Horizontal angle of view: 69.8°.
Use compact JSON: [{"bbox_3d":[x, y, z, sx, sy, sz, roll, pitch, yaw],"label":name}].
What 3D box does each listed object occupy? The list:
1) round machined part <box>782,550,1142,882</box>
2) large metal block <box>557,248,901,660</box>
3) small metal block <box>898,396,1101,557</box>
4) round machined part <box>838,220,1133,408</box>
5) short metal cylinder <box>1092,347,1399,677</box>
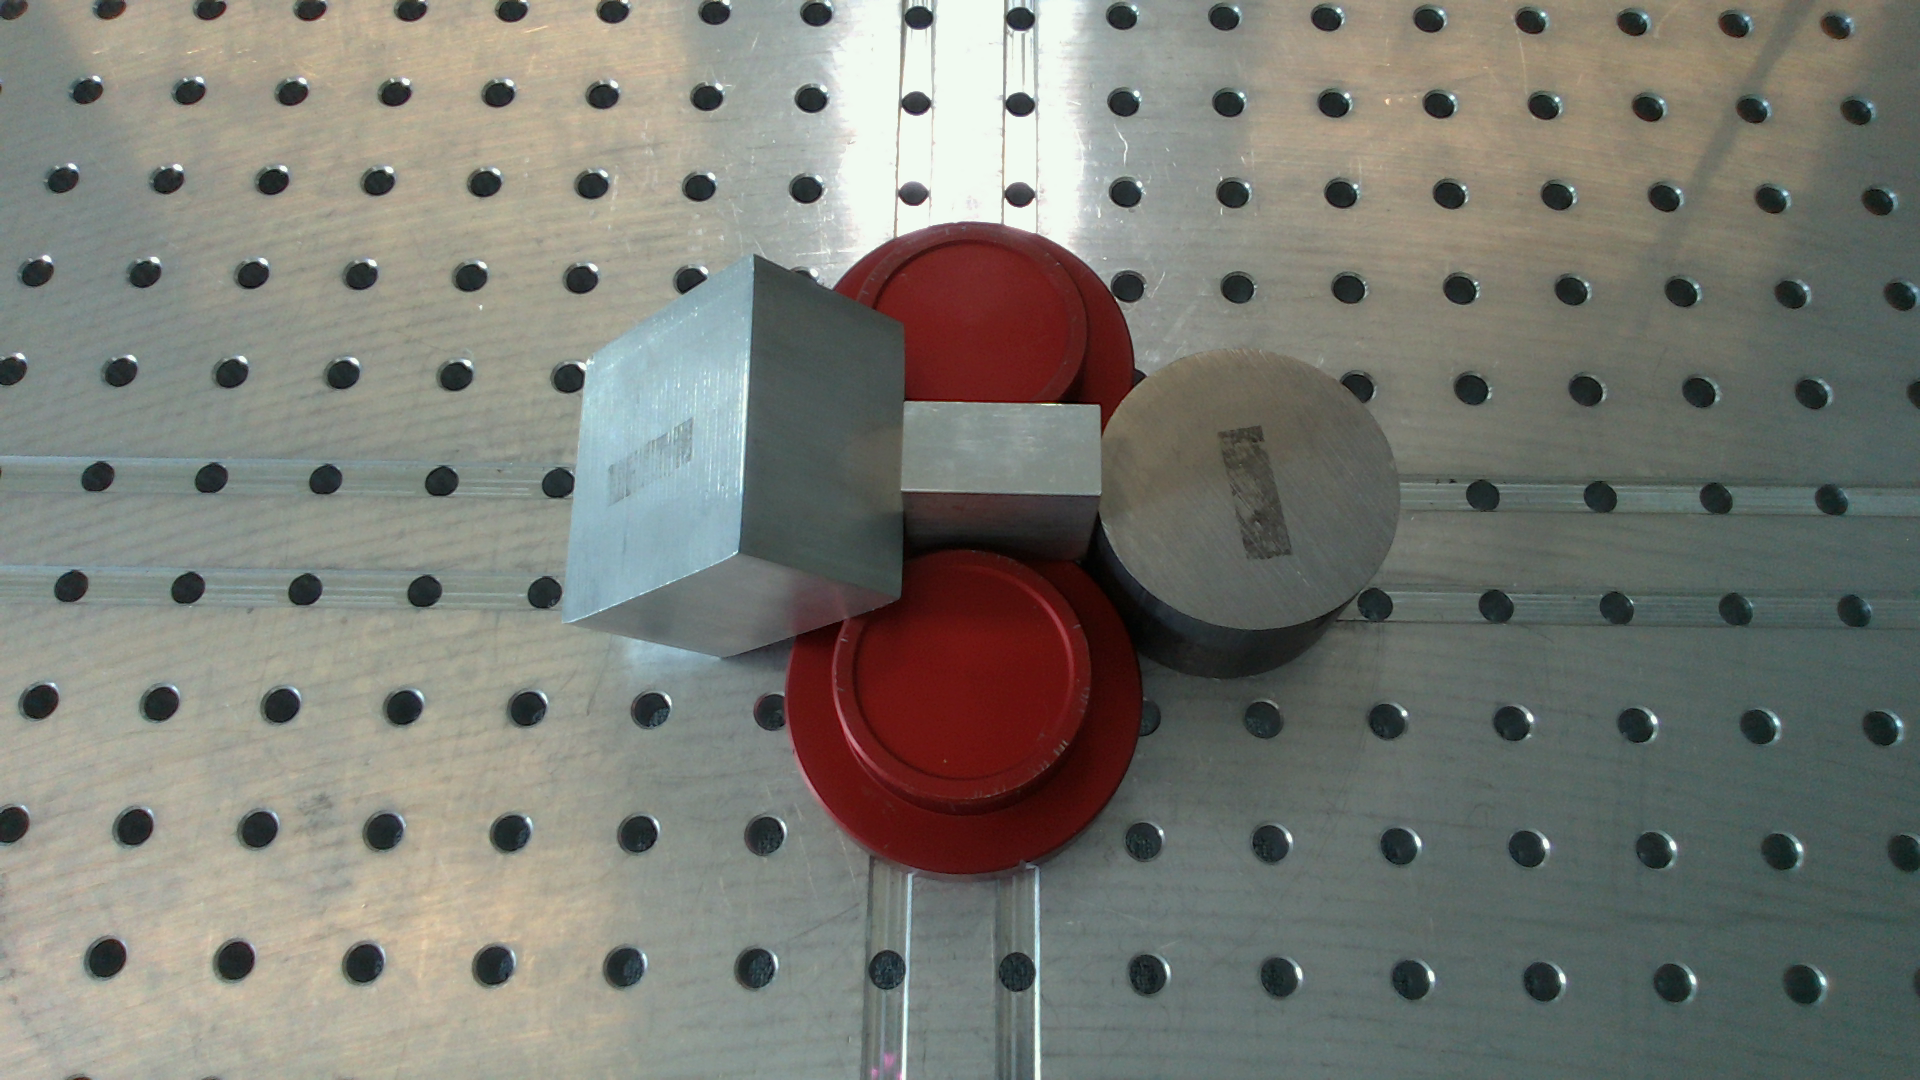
[{"bbox_3d":[0.001,0.041,0.373,0.098,0.042,0.098,0,70,0],"label":"round machined part"},{"bbox_3d":[-0.061,-0.019,0.368,0.050,0.080,0.080,18,63,-41],"label":"large metal block"},{"bbox_3d":[0.010,-0.015,0.366,0.050,0.050,0.025,1,70,1],"label":"small metal block"},{"bbox_3d":[0.003,-0.053,0.408,0.098,0.042,0.098,0,70,0],"label":"round machined part"},{"bbox_3d":[0.075,-0.007,0.385,0.080,0.050,0.080,0,70,0],"label":"short metal cylinder"}]
